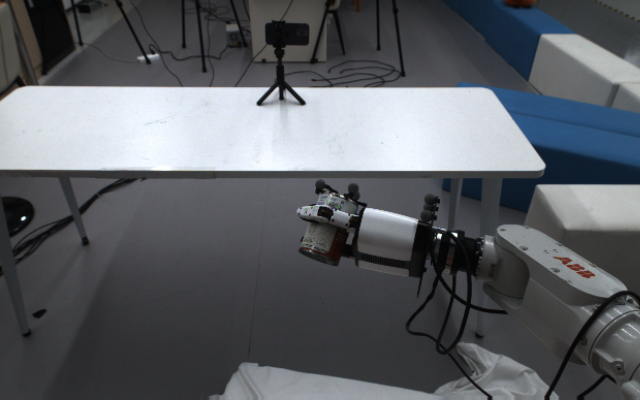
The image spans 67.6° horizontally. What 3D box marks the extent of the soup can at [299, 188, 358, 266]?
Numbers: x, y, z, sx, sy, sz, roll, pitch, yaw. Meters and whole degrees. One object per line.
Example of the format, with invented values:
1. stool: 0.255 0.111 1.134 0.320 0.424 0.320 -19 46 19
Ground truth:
1. soup can: 0.015 0.047 0.770 0.067 0.067 0.101 16 74 19
